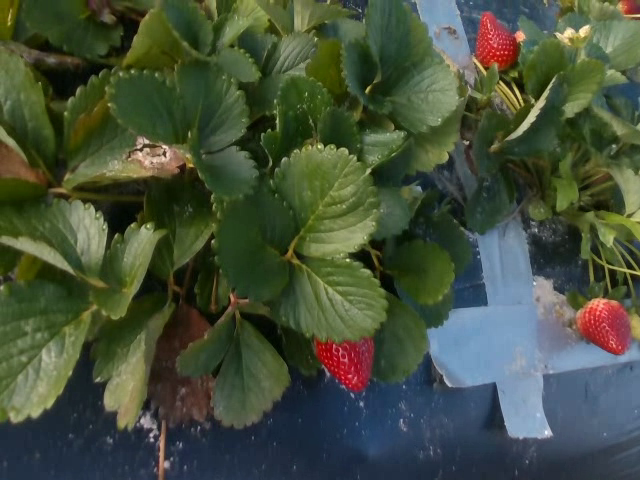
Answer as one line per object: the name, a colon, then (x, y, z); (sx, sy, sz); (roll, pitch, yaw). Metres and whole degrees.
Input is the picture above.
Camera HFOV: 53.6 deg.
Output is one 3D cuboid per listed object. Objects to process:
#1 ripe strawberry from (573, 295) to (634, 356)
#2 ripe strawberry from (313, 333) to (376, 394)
ripe strawberry: (0.107, 0.033, 0.227); (0.023, 0.021, 0.026); (8, 43, -6)
ripe strawberry: (0.007, 0.030, 0.162); (0.018, 0.023, 0.021); (-8, -27, -14)
